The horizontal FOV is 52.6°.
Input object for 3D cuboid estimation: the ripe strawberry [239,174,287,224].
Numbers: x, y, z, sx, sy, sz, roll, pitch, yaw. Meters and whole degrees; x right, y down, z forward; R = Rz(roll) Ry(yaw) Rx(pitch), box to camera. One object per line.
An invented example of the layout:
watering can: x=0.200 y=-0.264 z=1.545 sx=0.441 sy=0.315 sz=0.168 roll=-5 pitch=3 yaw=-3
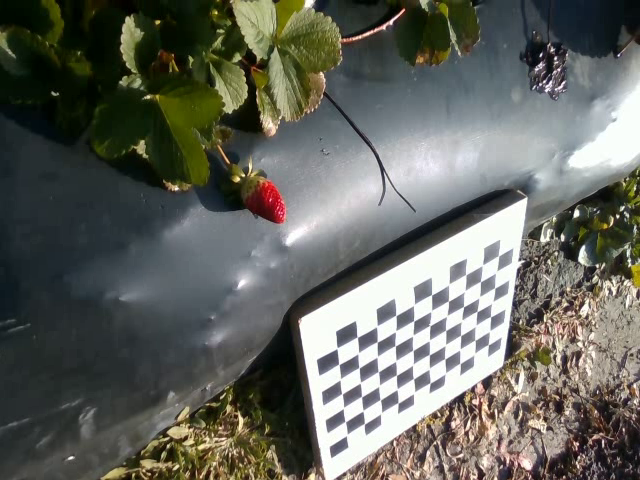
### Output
ripe strawberry: x=-0.034 y=-0.024 z=0.414 sx=0.028 sy=0.041 sz=0.031 roll=-44 pitch=-10 yaw=-4
